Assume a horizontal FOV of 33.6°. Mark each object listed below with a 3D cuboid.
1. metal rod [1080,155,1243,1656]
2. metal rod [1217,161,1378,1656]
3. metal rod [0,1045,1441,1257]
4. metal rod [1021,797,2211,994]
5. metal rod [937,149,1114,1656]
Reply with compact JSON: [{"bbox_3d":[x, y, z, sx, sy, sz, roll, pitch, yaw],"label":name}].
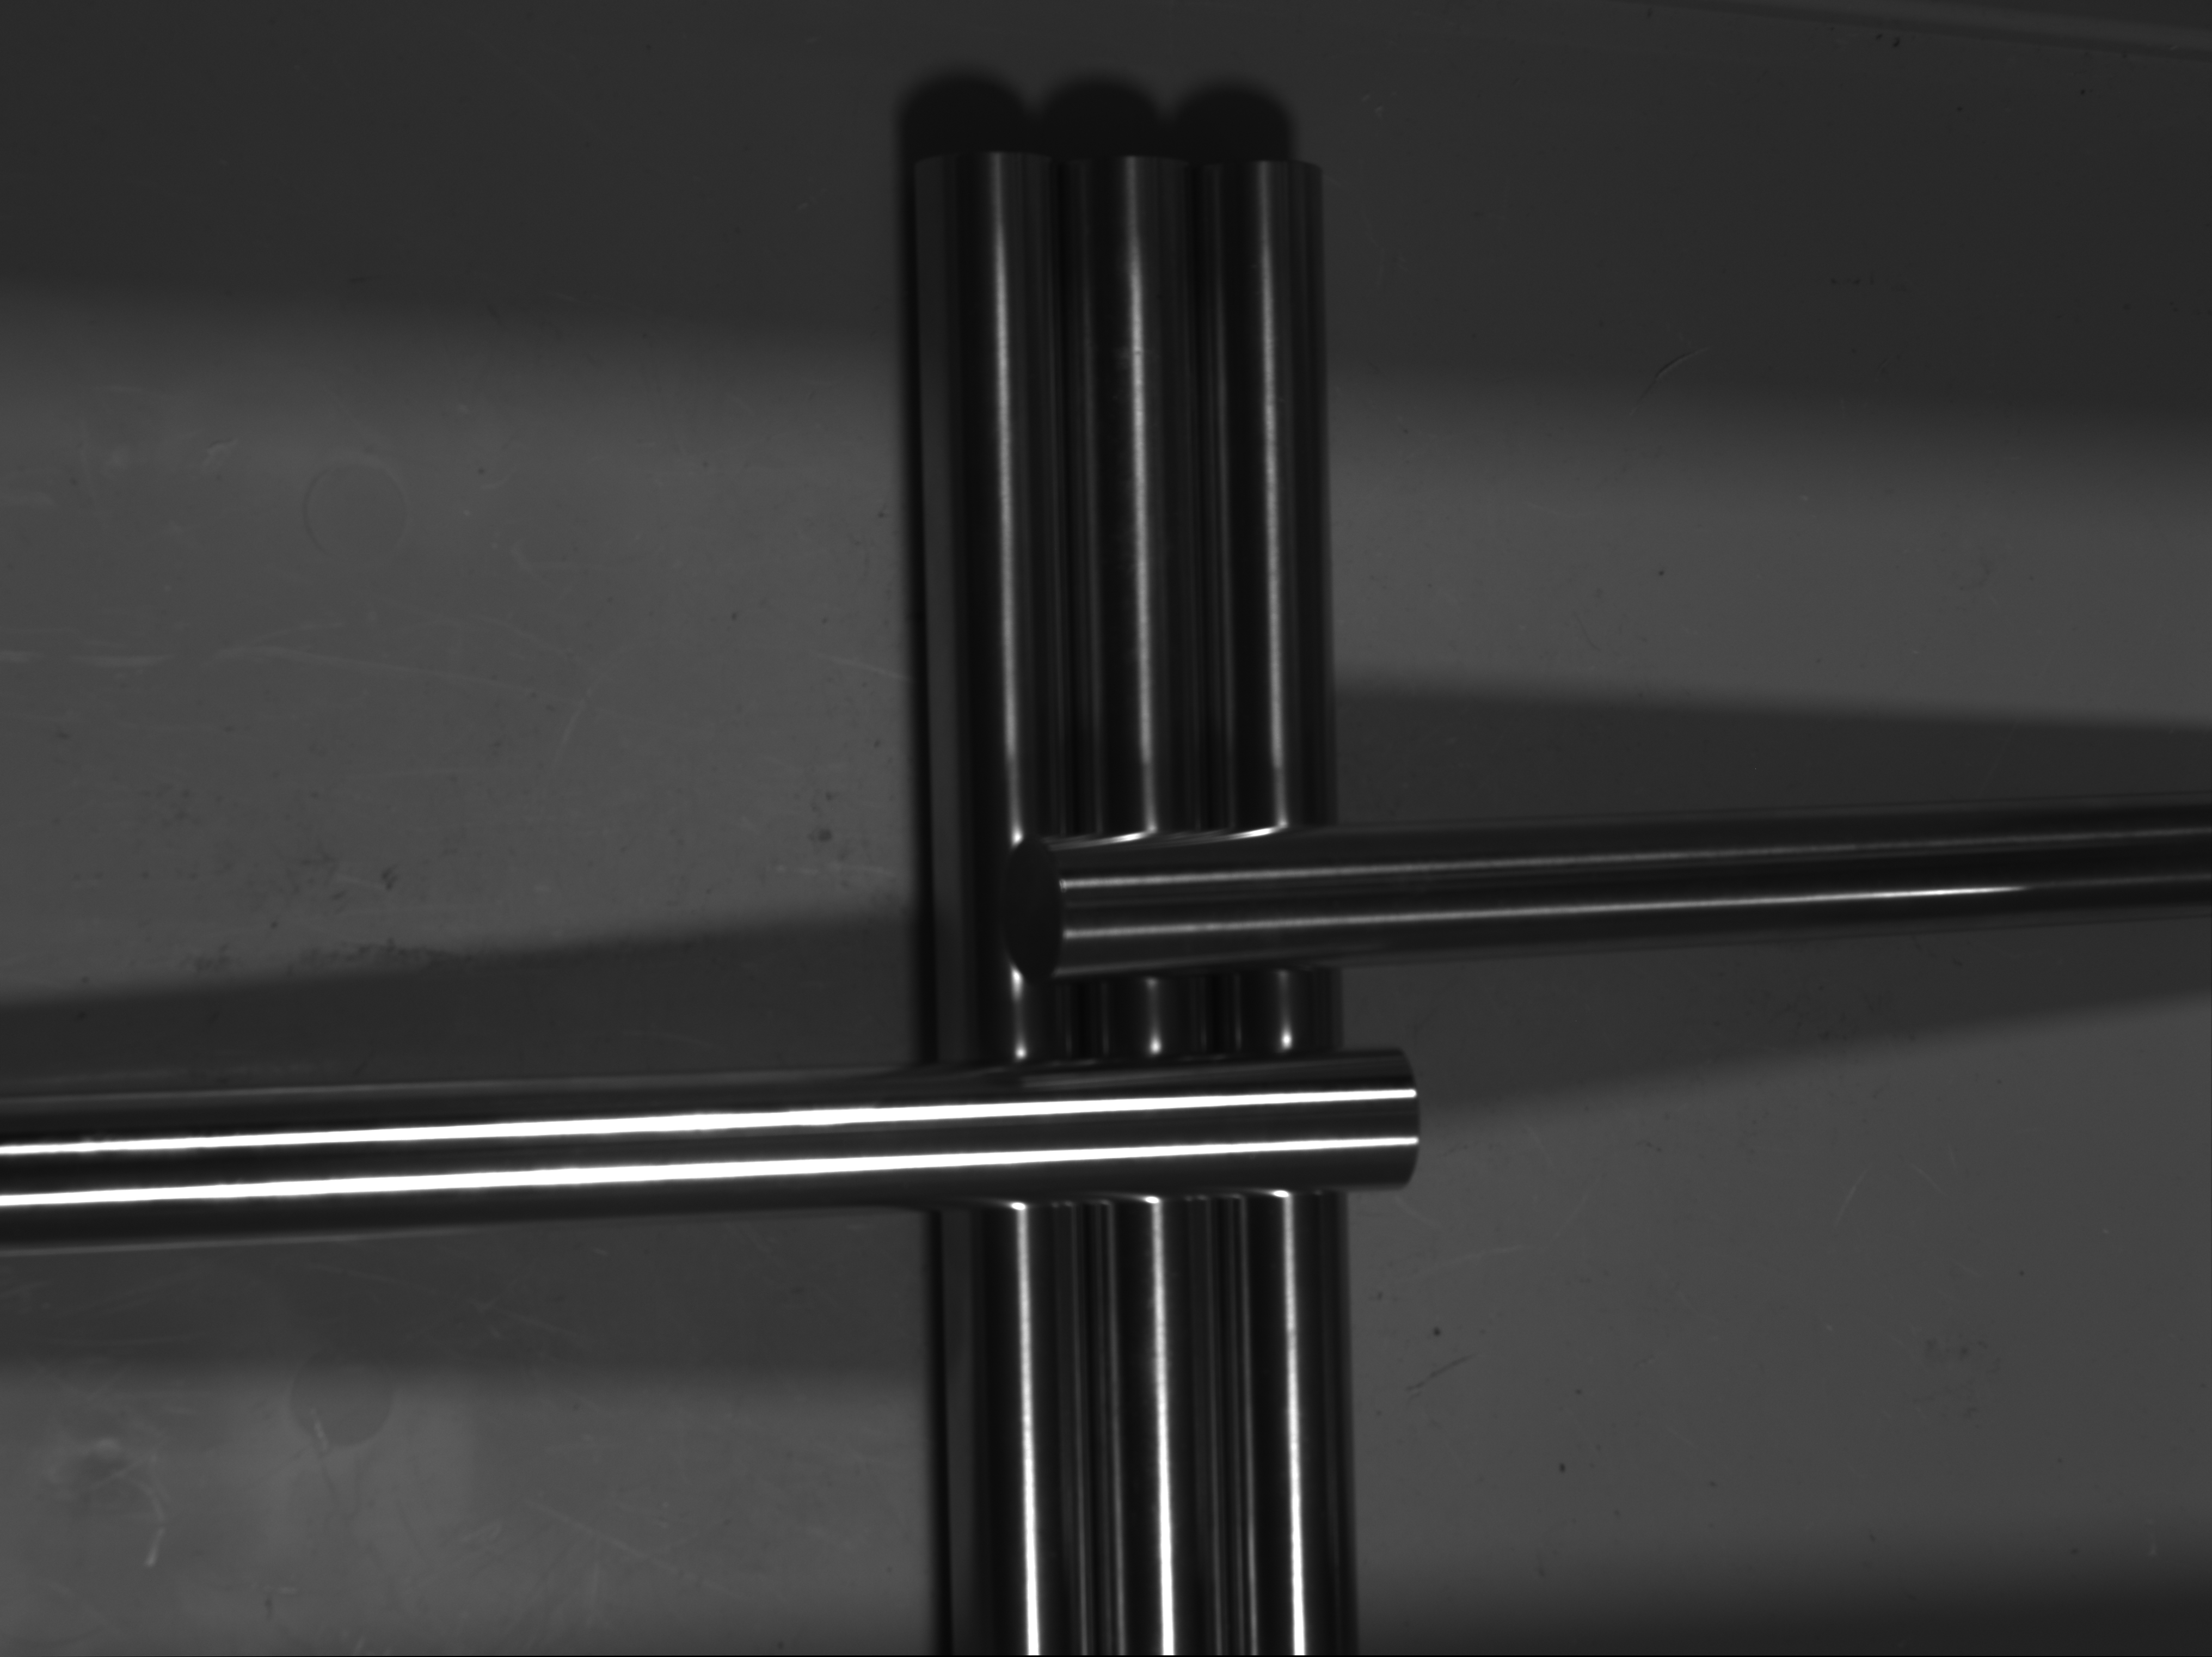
[{"bbox_3d":[0.009,0.034,0.646,0.025,0.025,0.300,-1,90,-20],"label":"metal rod"},{"bbox_3d":[0.034,0.033,0.655,0.025,0.025,0.300,-1,90,-20],"label":"metal rod"},{"bbox_3d":[-0.092,0.053,0.592,0.300,0.025,0.025,-1,90,-14],"label":"metal rod"},{"bbox_3d":[0.126,0.010,0.670,0.301,0.025,0.025,-2,91,-26],"label":"metal rod"},{"bbox_3d":[-0.014,0.034,0.637,0.025,0.025,0.300,-1,90,-20],"label":"metal rod"}]
